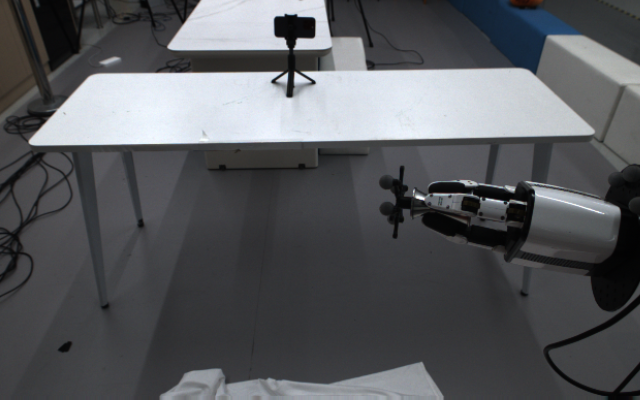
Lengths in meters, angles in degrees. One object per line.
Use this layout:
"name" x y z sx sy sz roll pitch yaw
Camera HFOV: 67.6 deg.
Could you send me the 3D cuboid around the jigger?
"jigger" 0.152 0.002 0.576 0.071 0.043 0.043 4 34 18
